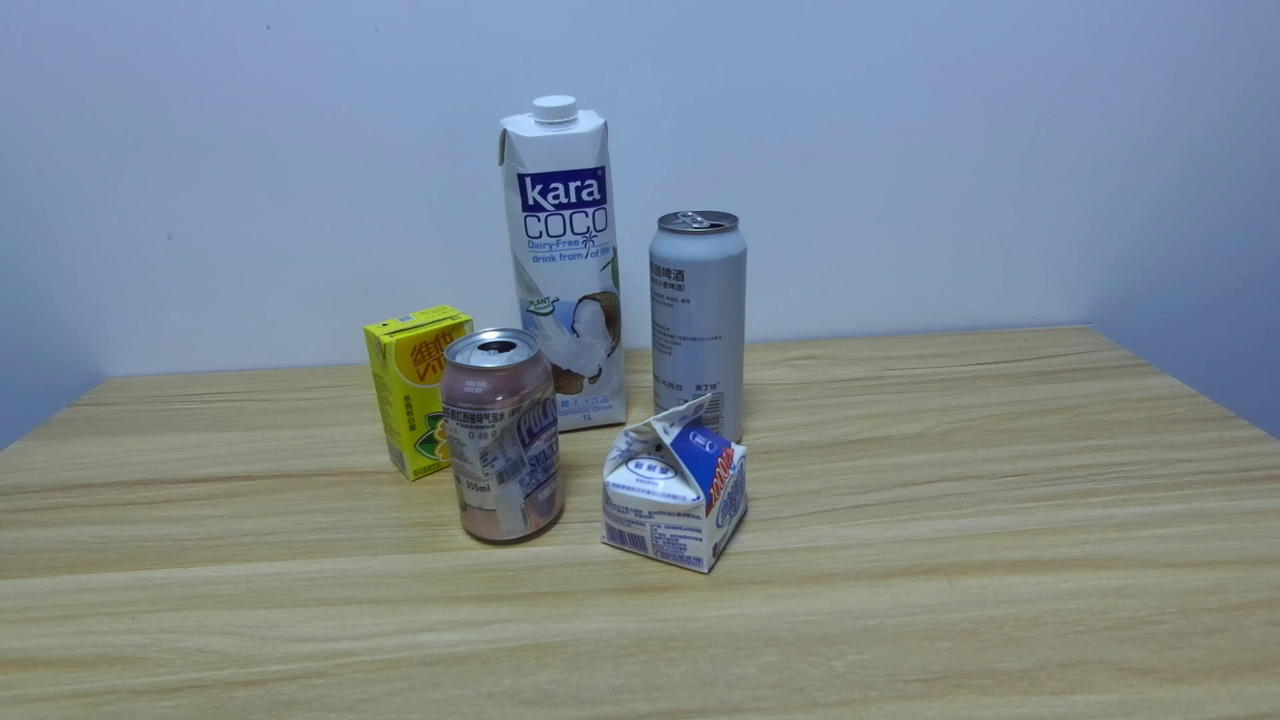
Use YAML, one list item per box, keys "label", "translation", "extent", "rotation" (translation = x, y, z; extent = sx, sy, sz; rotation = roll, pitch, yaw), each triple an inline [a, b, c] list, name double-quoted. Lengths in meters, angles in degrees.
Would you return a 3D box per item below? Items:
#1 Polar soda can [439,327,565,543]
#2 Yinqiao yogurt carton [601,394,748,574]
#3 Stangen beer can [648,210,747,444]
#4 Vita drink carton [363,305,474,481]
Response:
- label: "Polar soda can"
  translation: [-0.083, 0.047, 0.440]
  extent: [0.074, 0.122, 0.067]
  rotation: [-14, 26, -23]
- label: "Yinqiao yogurt carton"
  translation: [0.020, 0.063, 0.424]
  extent: [0.077, 0.093, 0.083]
  rotation: [9, 27, 26]
- label: "Stangen beer can"
  translation: [0.042, -0.017, 0.503]
  extent: [0.067, 0.171, 0.067]
  rotation: [-2, 23, 1]
- label: "Vita drink carton"
  translation: [-0.152, 0.023, 0.514]
  extent: [0.067, 0.109, 0.043]
  rotation: [-20, 29, -35]
